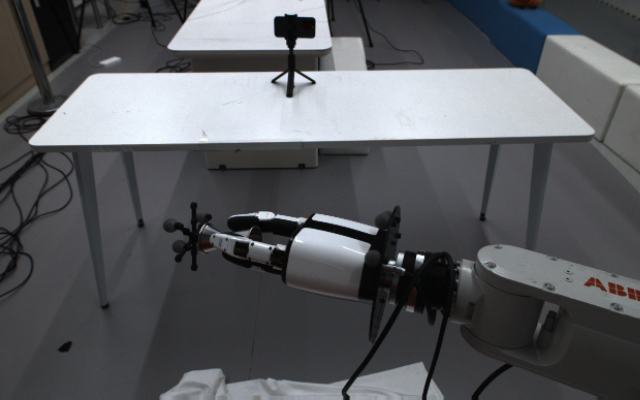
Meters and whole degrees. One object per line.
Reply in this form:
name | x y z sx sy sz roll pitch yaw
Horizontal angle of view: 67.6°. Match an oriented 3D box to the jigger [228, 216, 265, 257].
jigger | -0.104 0.046 0.605 0.071 0.043 0.043 3 34 17
